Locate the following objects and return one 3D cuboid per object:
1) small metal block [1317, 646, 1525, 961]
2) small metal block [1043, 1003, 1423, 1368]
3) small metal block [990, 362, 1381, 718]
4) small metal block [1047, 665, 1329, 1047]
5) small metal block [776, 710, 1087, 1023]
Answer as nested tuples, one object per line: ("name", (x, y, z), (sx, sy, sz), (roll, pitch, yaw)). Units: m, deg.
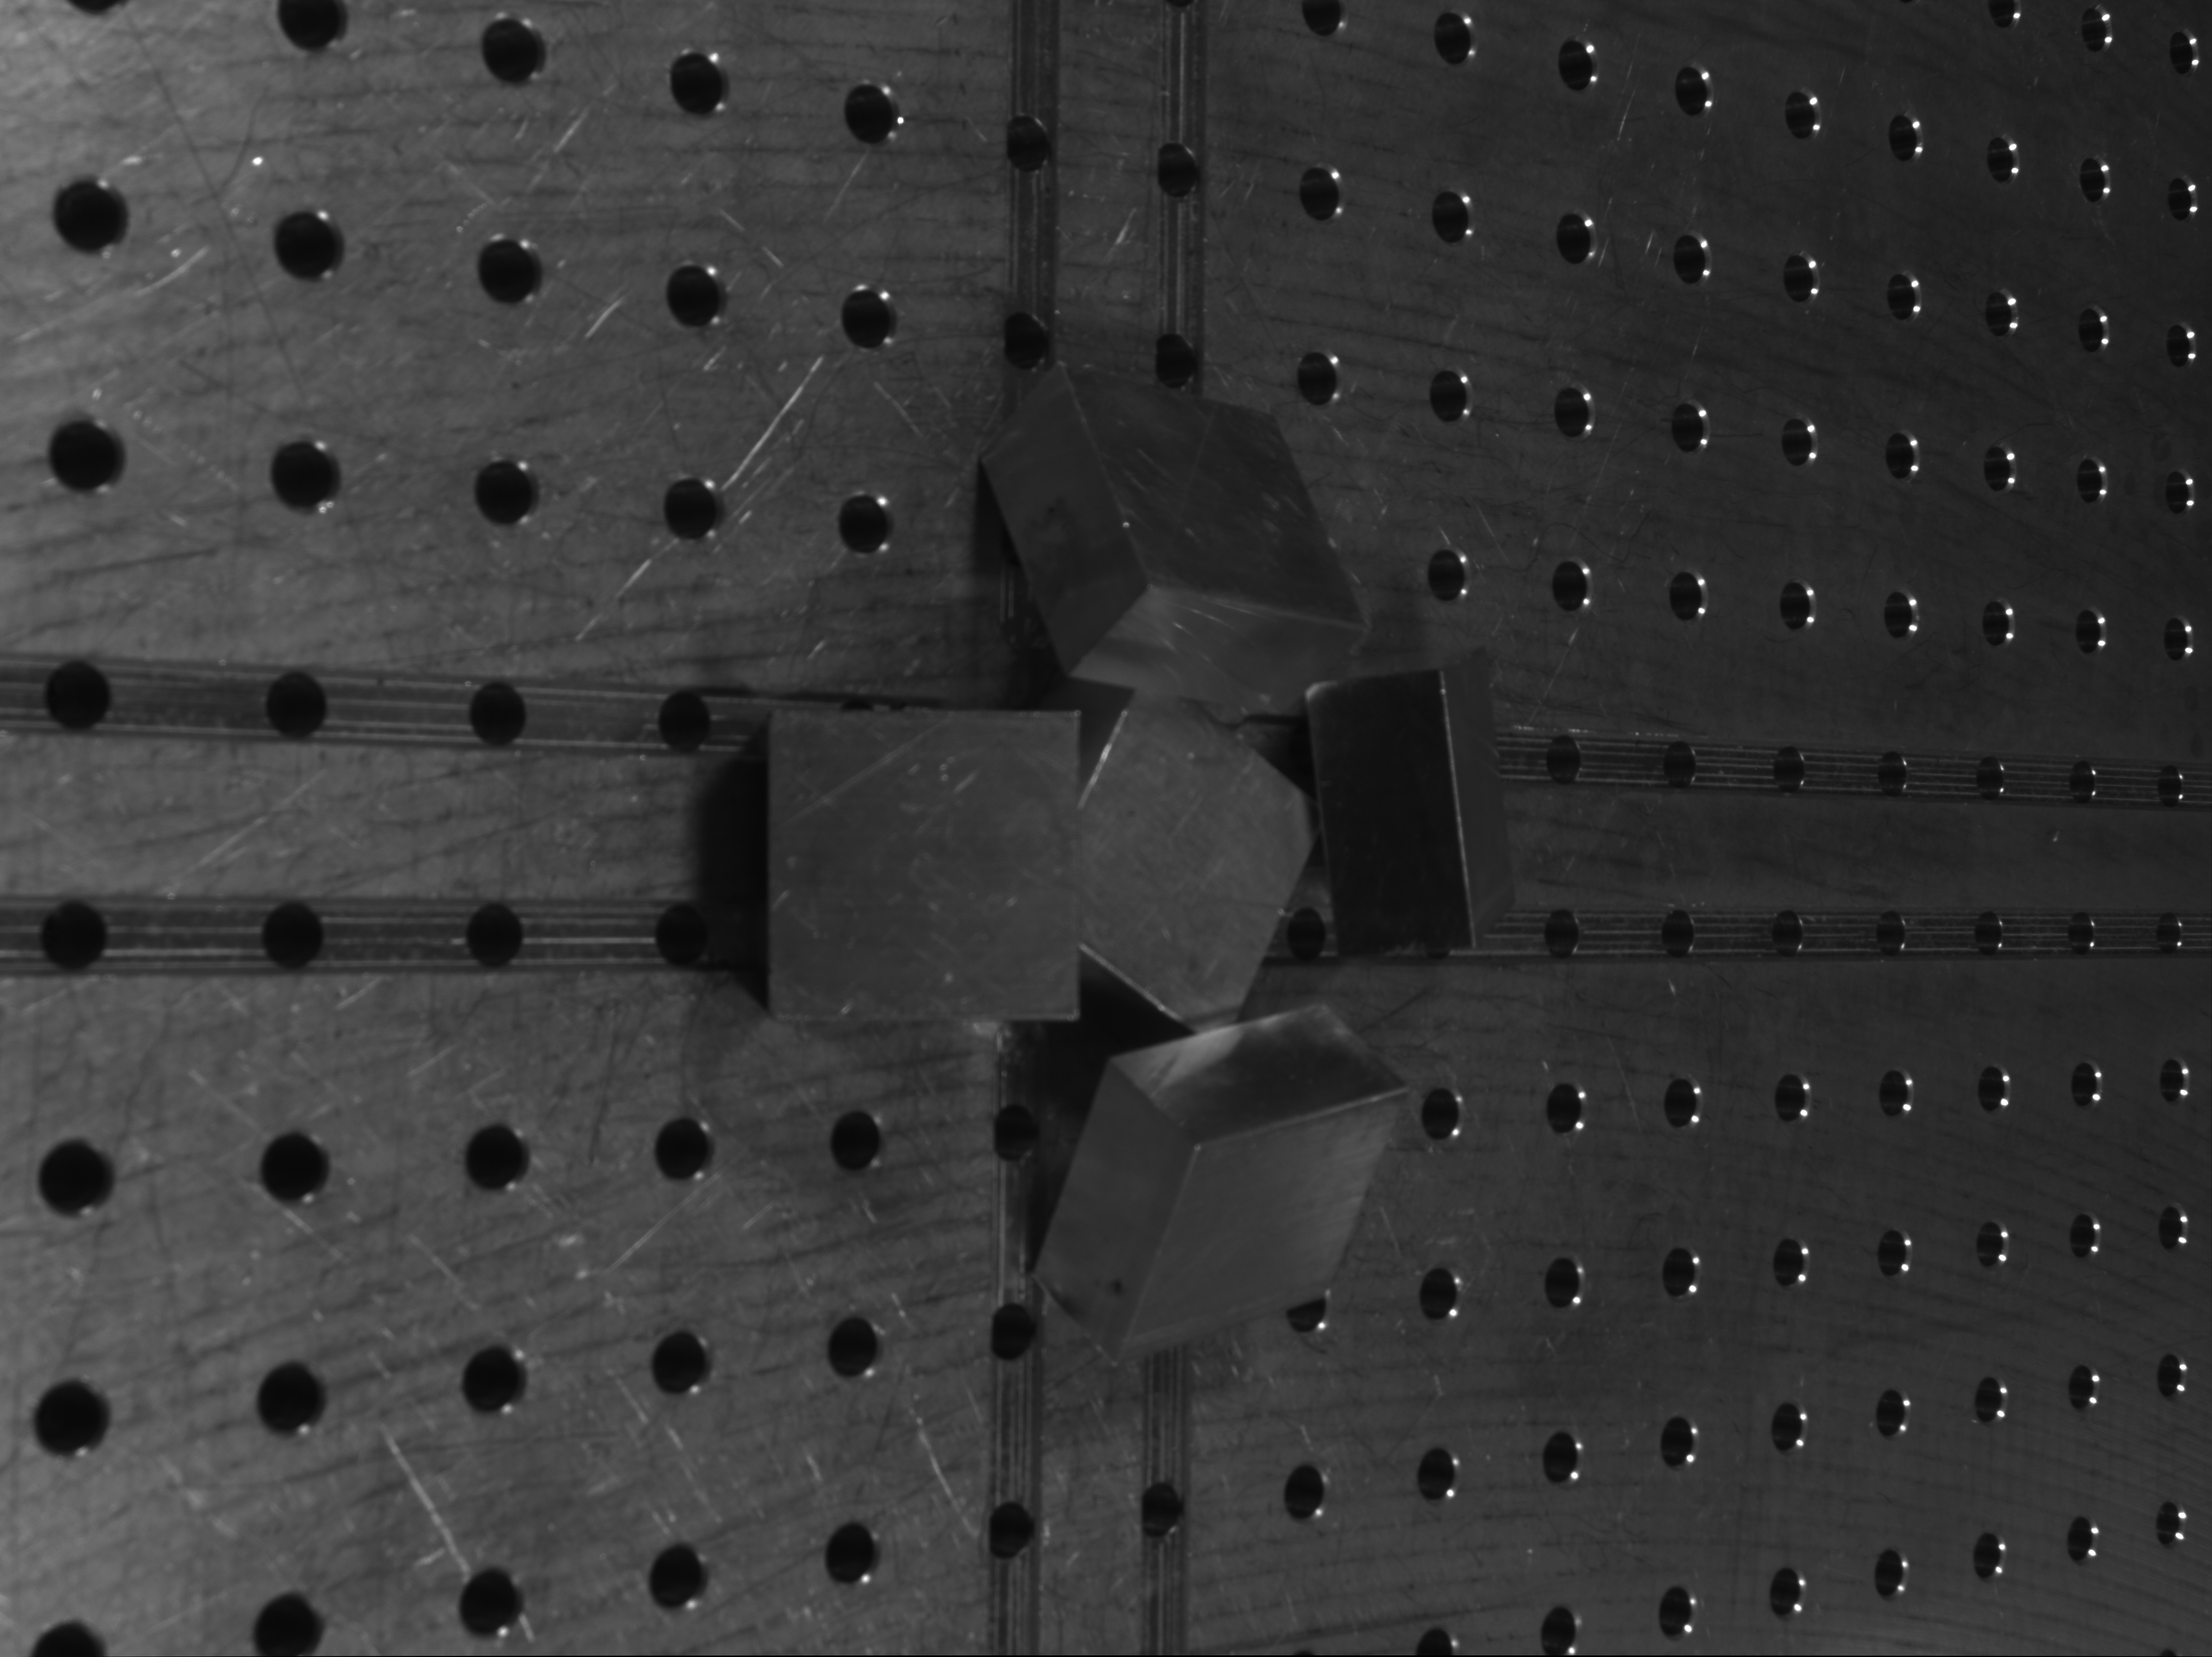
("small metal block", (0.058, -0.005, 0.673), (0.050, 0.025, 0.050), (-27, 110, -73))
("small metal block", (0.022, 0.062, 0.642), (0.050, 0.025, 0.050), (-11, 133, -39))
("small metal block", (0.014, -0.050, 0.635), (0.050, 0.025, 0.050), (8, 49, -39))
("small metal block", (0.008, 0.005, 0.646), (0.050, 0.025, 0.050), (38, 66, -33))
("small metal block", (-0.029, 0.006, 0.601), (0.050, 0.025, 0.050), (0, 90, -5))
